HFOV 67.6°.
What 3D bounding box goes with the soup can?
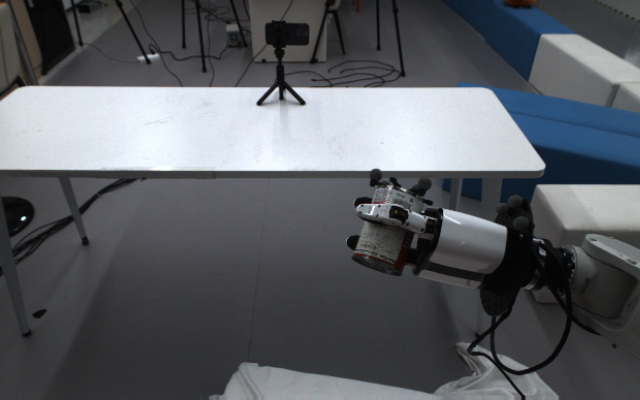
[{"bbox_3d":[0.091,0.039,0.633,0.067,0.067,0.101,15,75,18],"label":"soup can"}]
